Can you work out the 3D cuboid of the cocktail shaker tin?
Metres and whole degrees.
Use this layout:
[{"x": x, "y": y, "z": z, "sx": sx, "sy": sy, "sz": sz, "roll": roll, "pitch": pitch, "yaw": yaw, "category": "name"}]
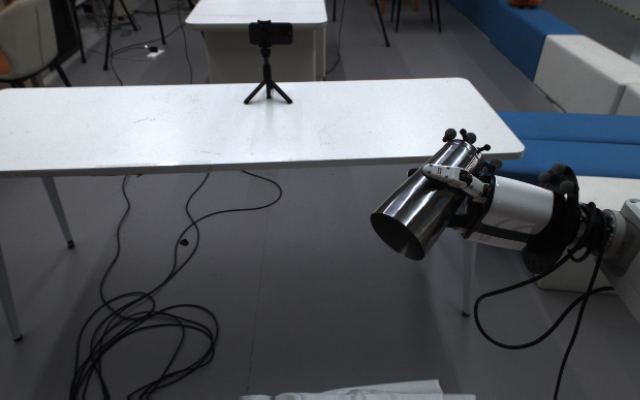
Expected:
[{"x": 0.159, "y": -0.012, "z": 0.685, "sx": 0.093, "sy": 0.093, "sz": 0.170, "roll": 32, "pitch": 66, "yaw": 35, "category": "cocktail shaker tin"}]
